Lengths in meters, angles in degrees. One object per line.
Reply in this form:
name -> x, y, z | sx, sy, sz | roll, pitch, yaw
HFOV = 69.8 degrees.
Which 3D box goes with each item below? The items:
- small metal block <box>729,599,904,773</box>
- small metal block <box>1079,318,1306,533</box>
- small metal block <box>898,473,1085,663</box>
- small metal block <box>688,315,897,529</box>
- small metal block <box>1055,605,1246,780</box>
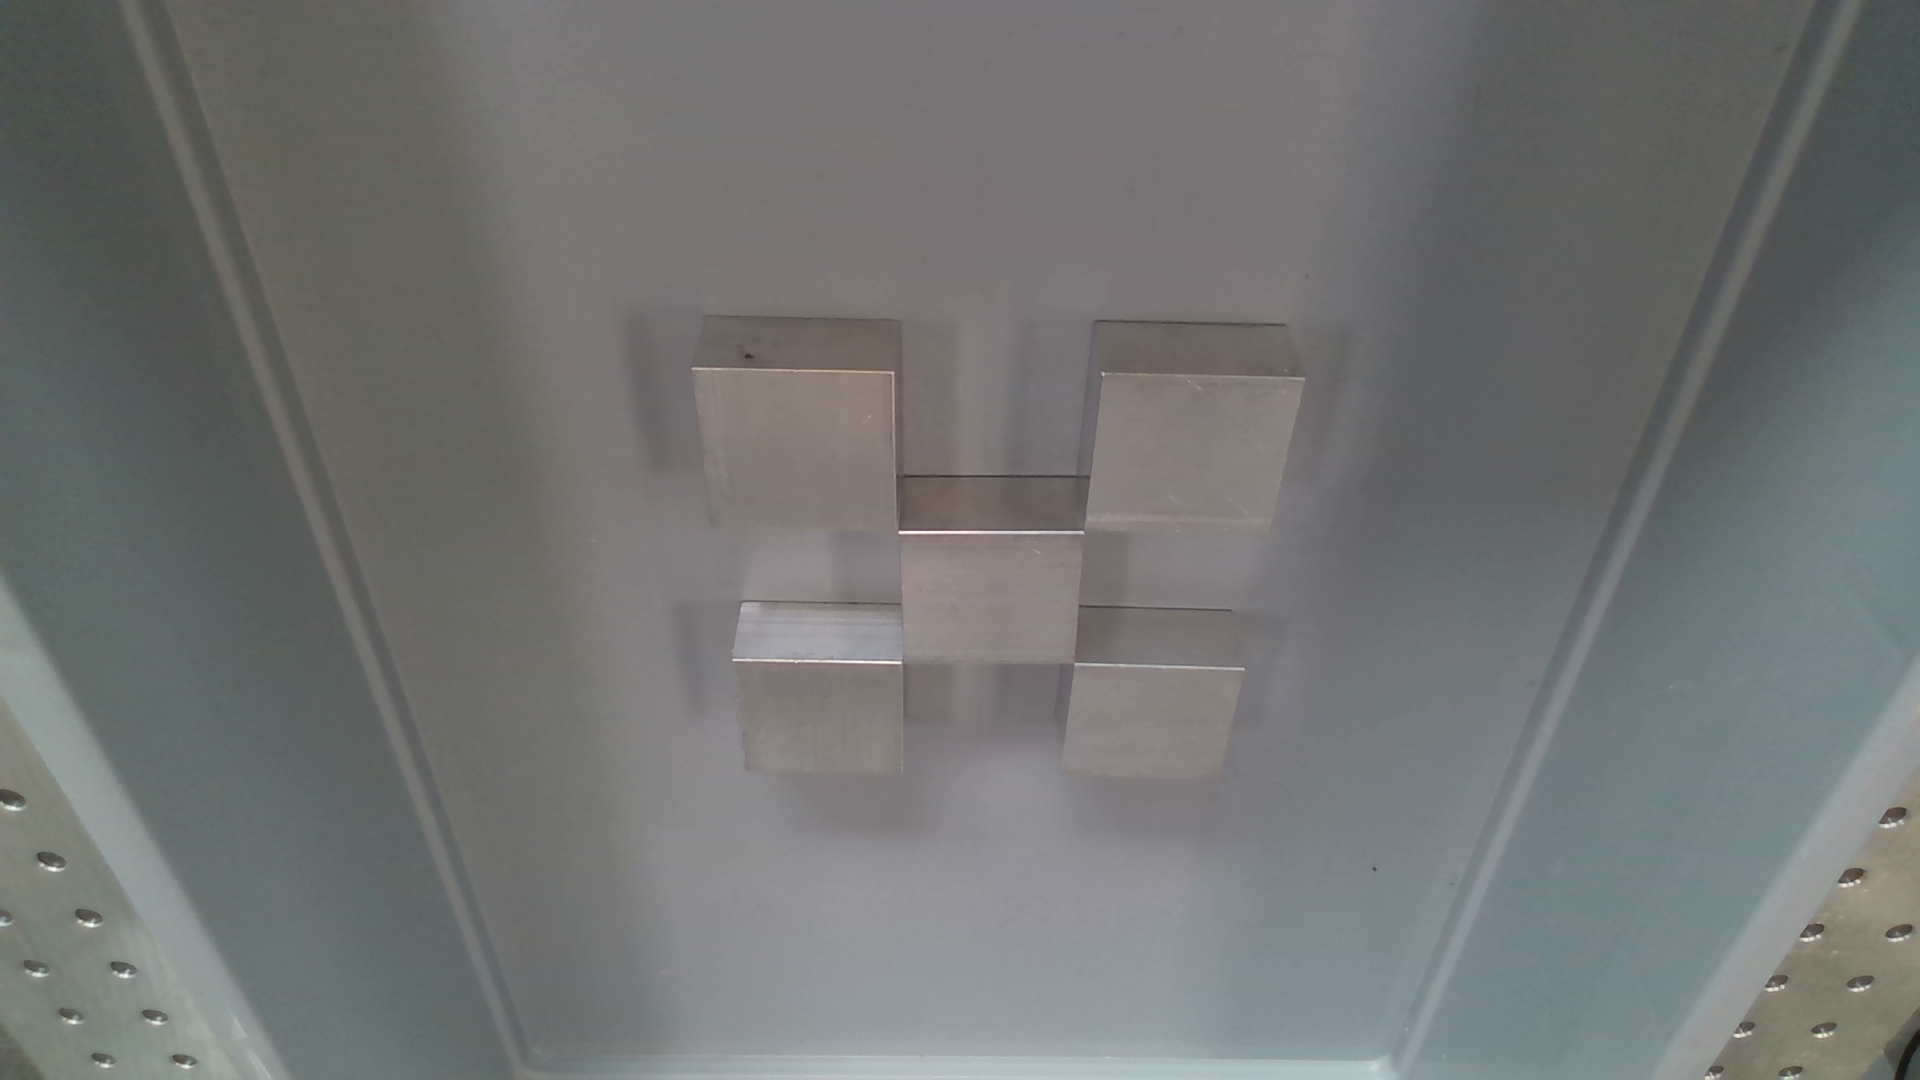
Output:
small metal block -> -0.043, 0.046, 0.425 | 0.050, 0.025, 0.050 | 1, 130, -1
small metal block -> 0.059, -0.030, 0.362 | 0.050, 0.025, 0.050 | 1, 130, -1
small metal block -> 0.008, 0.008, 0.393 | 0.050, 0.025, 0.050 | 0, 130, 0
small metal block -> -0.042, -0.030, 0.361 | 0.050, 0.025, 0.050 | 1, 130, 0
small metal block -> 0.057, 0.048, 0.427 | 0.050, 0.025, 0.050 | 2, 130, -2
